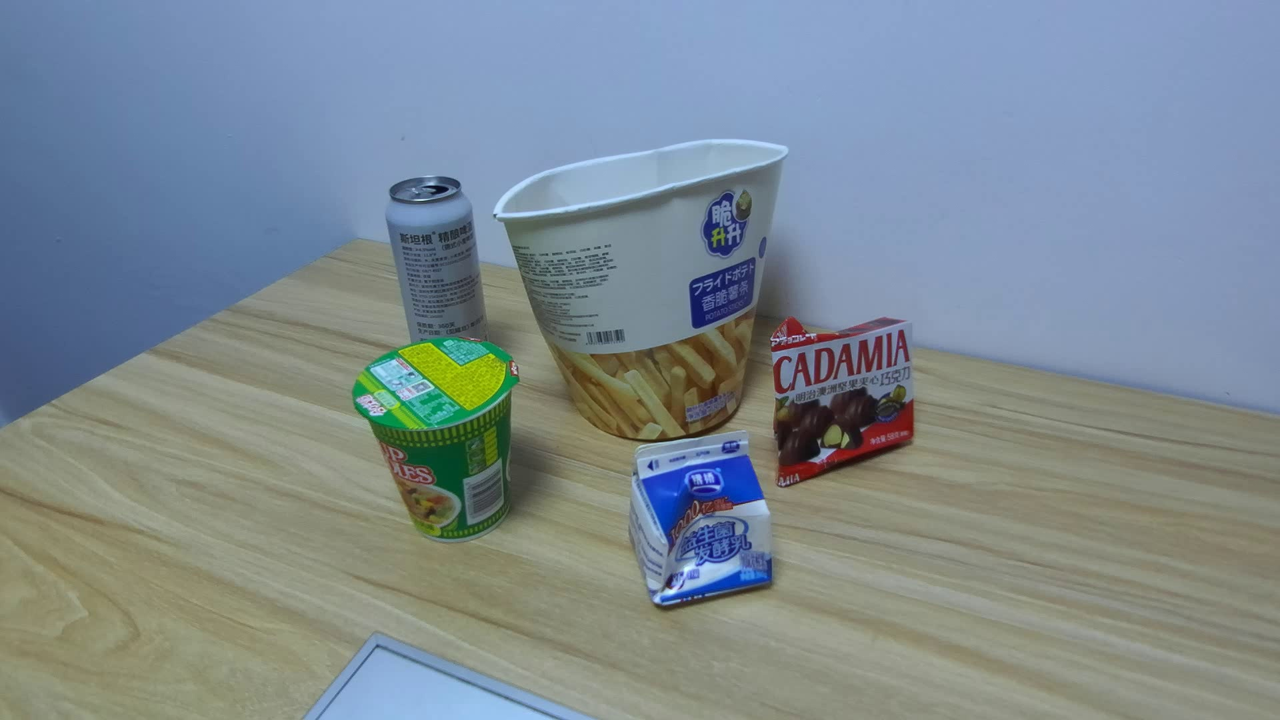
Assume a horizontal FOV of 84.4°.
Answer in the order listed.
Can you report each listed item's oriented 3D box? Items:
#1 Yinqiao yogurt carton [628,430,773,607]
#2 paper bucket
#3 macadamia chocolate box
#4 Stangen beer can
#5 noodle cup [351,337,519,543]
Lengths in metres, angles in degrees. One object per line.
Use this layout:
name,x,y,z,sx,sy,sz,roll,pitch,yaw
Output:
Yinqiao yogurt carton,0.034,0.086,0.428,0.077,0.094,0.071,-8,27,-12
paper bucket,0.012,-0.056,0.549,0.147,0.199,0.218,14,36,22
macadamia chocolate box,0.144,0.020,0.513,0.127,0.112,0.056,-13,34,-19
Stangen beer can,-0.166,-0.063,0.589,0.067,0.171,0.067,1,34,0
noodle cup,-0.124,0.058,0.462,0.097,0.110,0.097,-1,32,1
